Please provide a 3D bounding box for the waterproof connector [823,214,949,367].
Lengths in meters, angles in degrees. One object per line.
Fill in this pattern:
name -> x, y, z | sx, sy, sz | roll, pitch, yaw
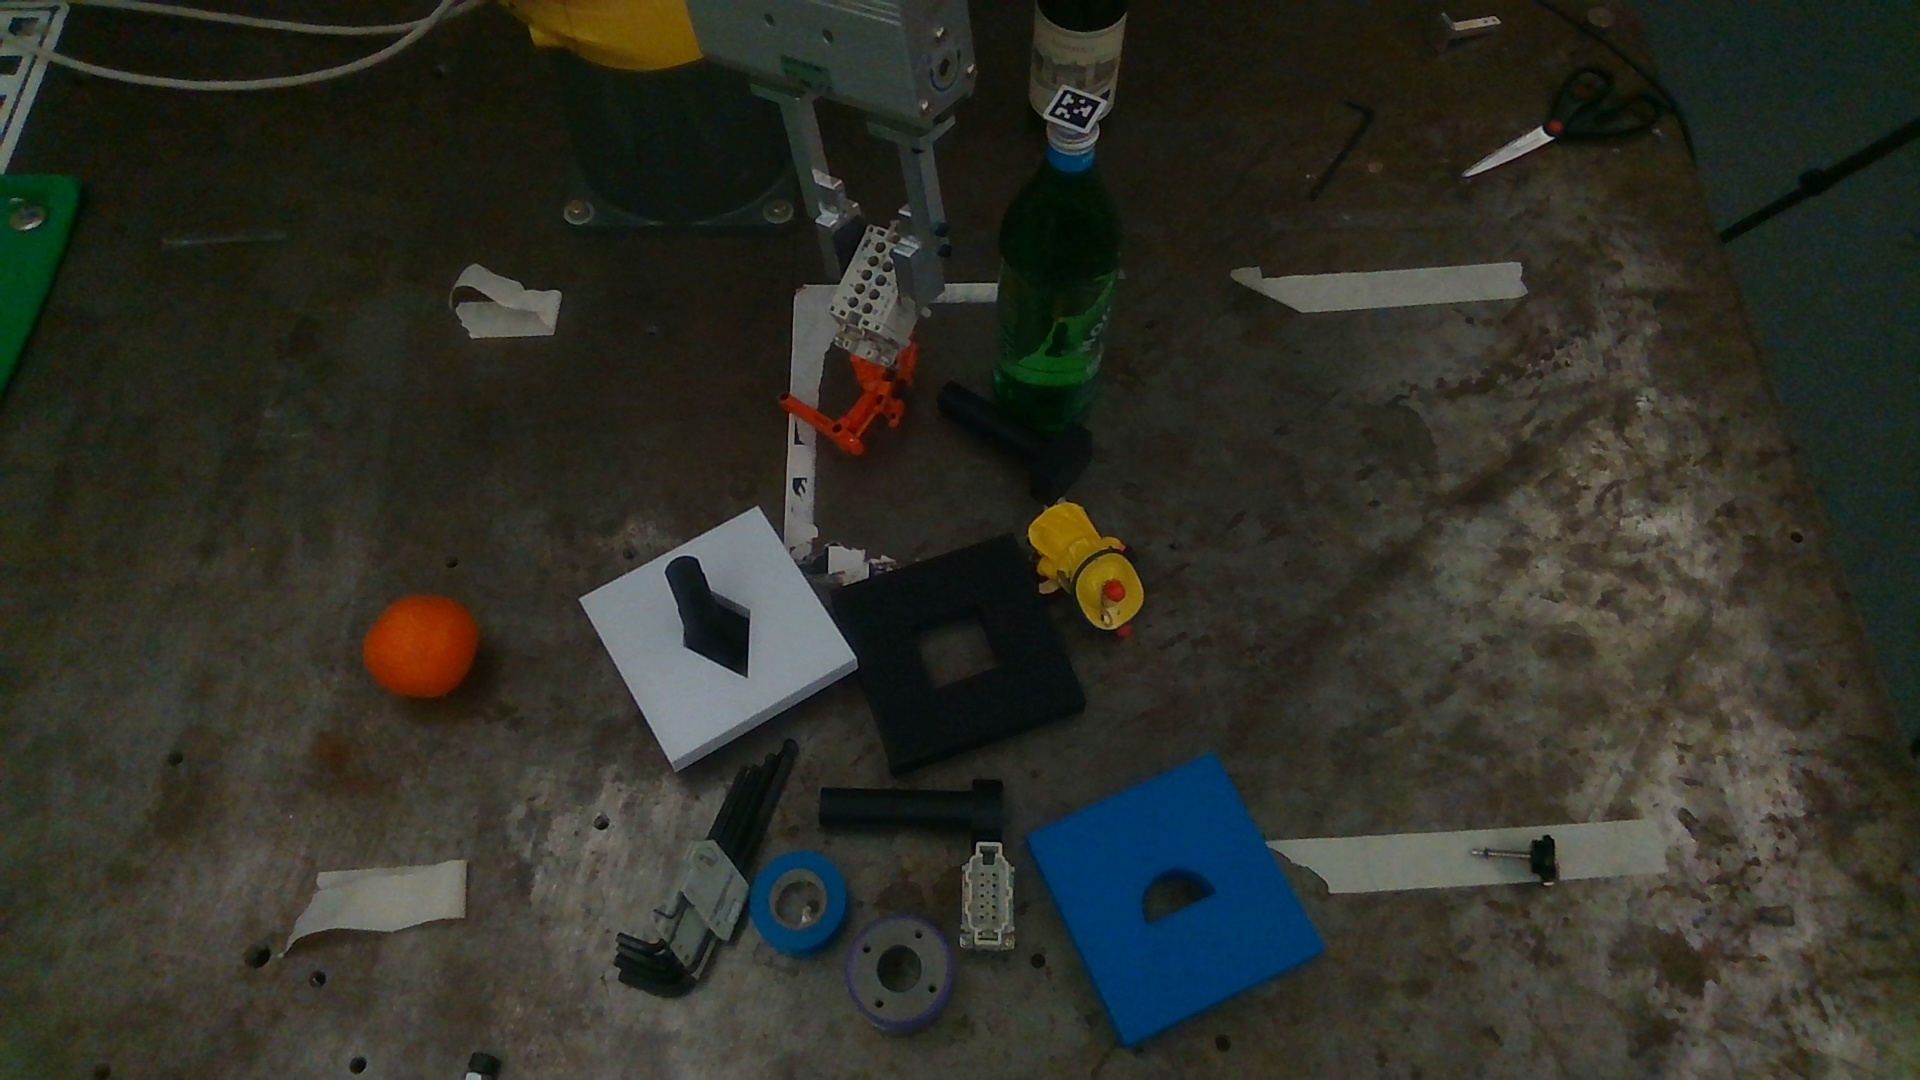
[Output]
waterproof connector -> -0.032, -0.114, 0.635 | 0.037, 0.038, 0.069 | 24, 90, 27
